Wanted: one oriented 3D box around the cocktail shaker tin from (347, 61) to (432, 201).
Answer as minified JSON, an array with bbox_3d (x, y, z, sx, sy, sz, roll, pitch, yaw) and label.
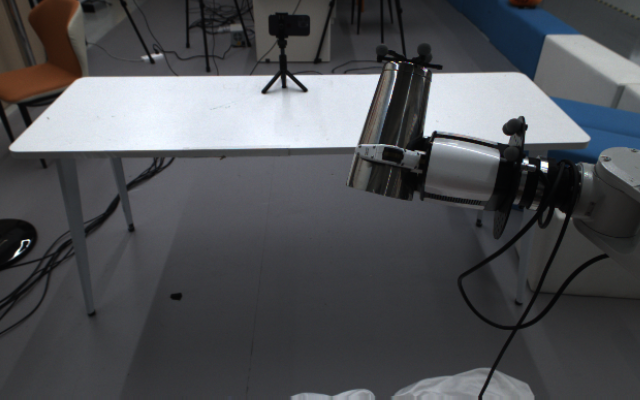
[{"bbox_3d":[0.099,-0.092,0.651,0.093,0.170,0.093,13,4,-1],"label":"cocktail shaker tin"}]
